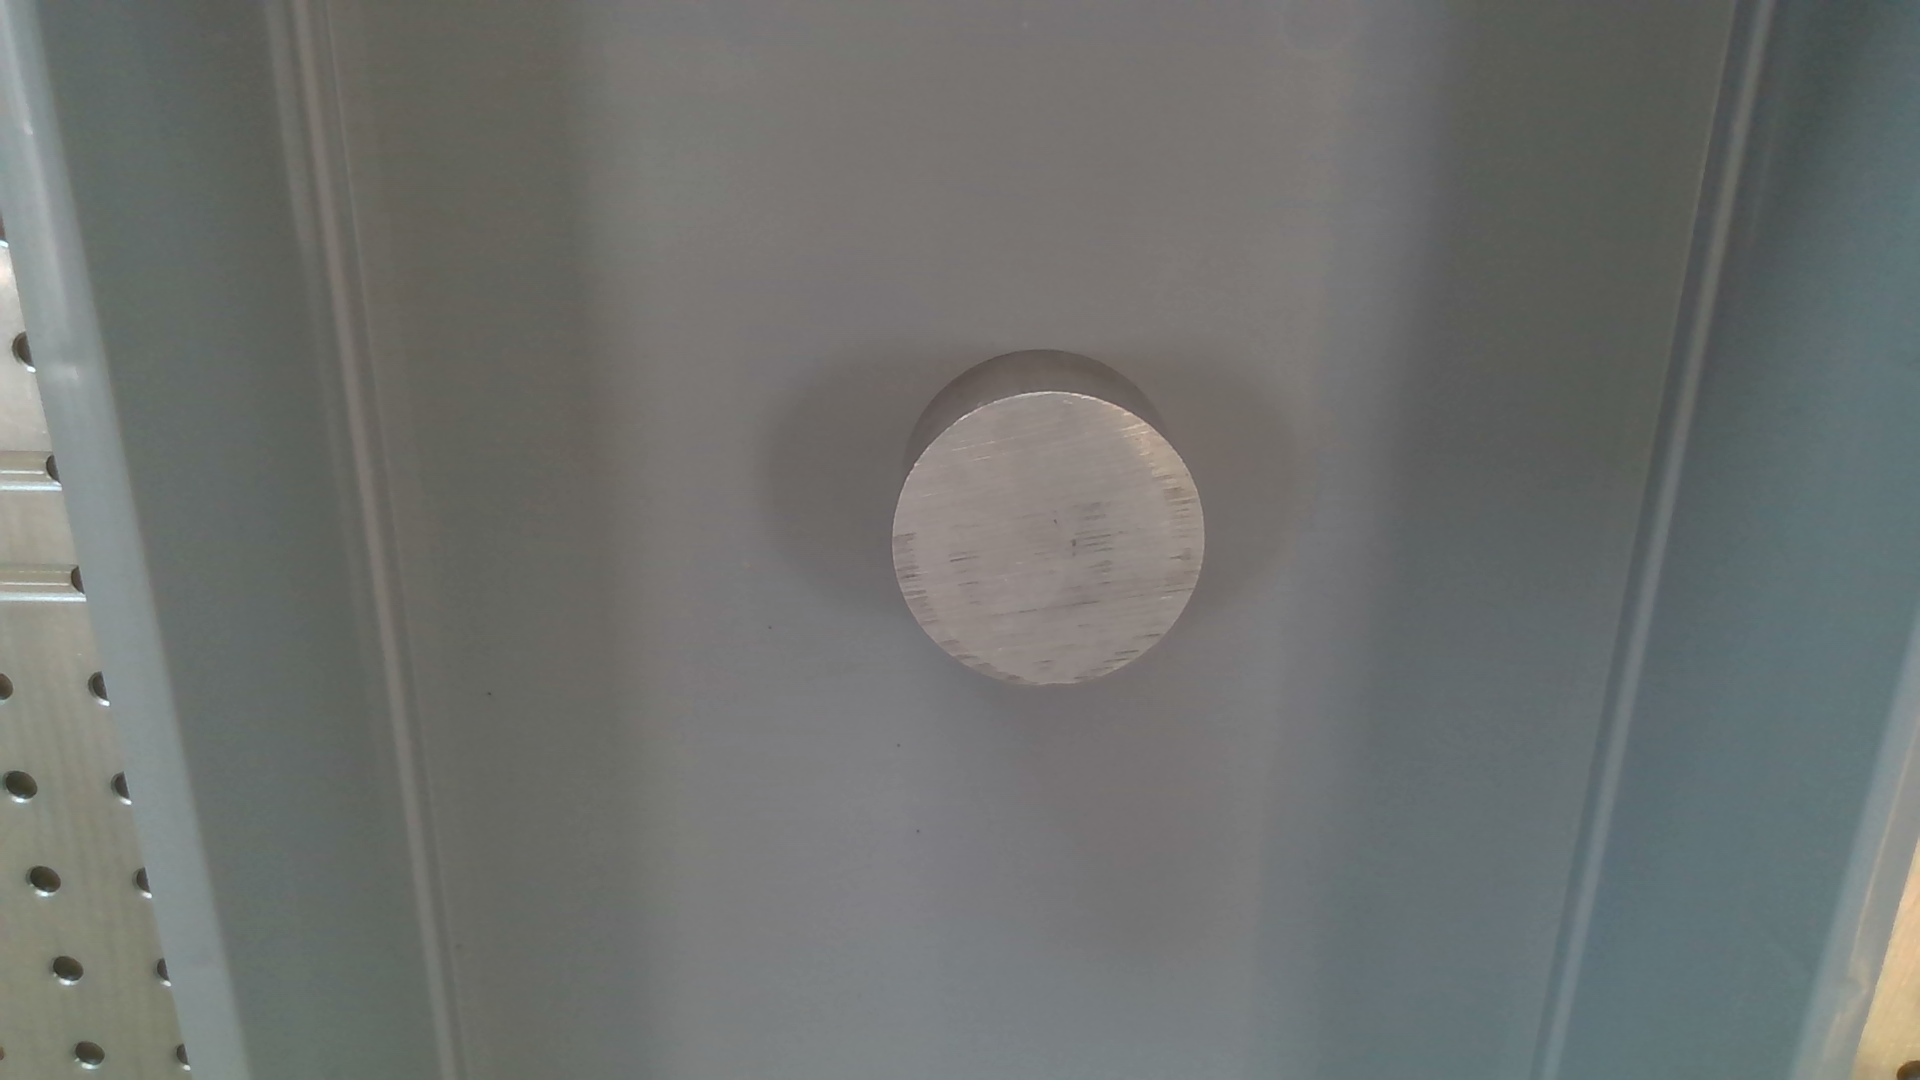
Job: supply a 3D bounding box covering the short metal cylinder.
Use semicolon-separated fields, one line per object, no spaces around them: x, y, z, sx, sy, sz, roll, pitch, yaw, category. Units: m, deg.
0.022;-0.008;0.375;0.080;0.050;0.080;0;110;0;short metal cylinder
